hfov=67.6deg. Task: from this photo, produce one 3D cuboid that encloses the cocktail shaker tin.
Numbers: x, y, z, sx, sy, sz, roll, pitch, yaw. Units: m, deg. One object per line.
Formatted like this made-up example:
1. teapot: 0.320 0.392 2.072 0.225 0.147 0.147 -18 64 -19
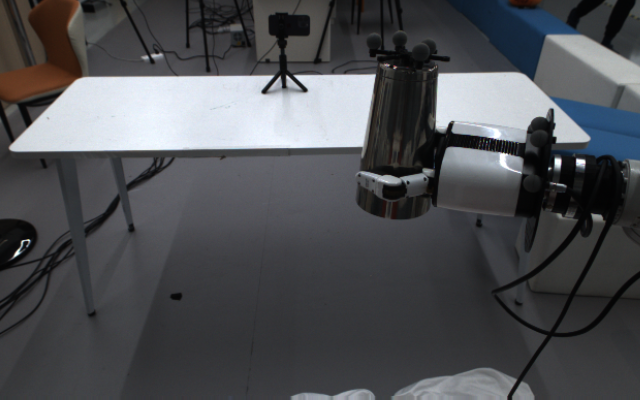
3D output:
1. cocktail shaker tin: 0.095 -0.074 0.566 0.093 0.170 0.093 1 28 -1
